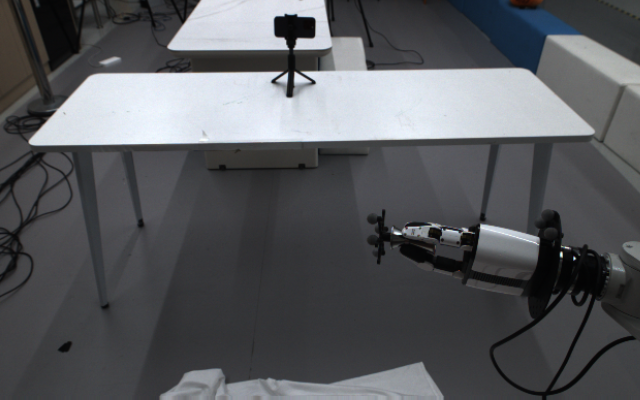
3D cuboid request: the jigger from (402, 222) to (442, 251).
[{"bbox_3d":[0.154,0.056,0.761,0.071,0.043,0.043,3,34,15],"label":"jigger"}]
